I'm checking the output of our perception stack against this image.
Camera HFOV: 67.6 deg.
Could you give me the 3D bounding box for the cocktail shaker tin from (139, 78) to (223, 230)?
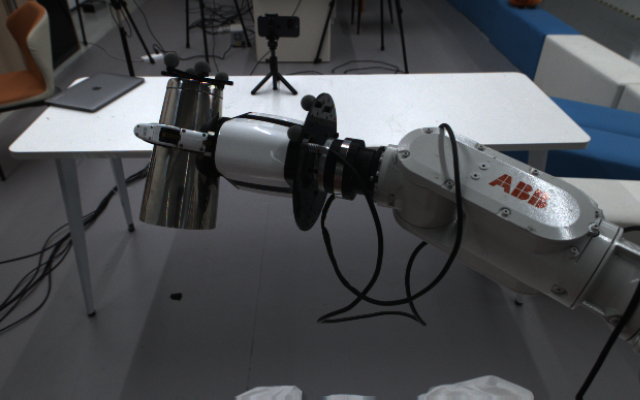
[{"bbox_3d":[-0.161,-0.055,0.590,0.093,0.170,0.093,8,3,0],"label":"cocktail shaker tin"}]
